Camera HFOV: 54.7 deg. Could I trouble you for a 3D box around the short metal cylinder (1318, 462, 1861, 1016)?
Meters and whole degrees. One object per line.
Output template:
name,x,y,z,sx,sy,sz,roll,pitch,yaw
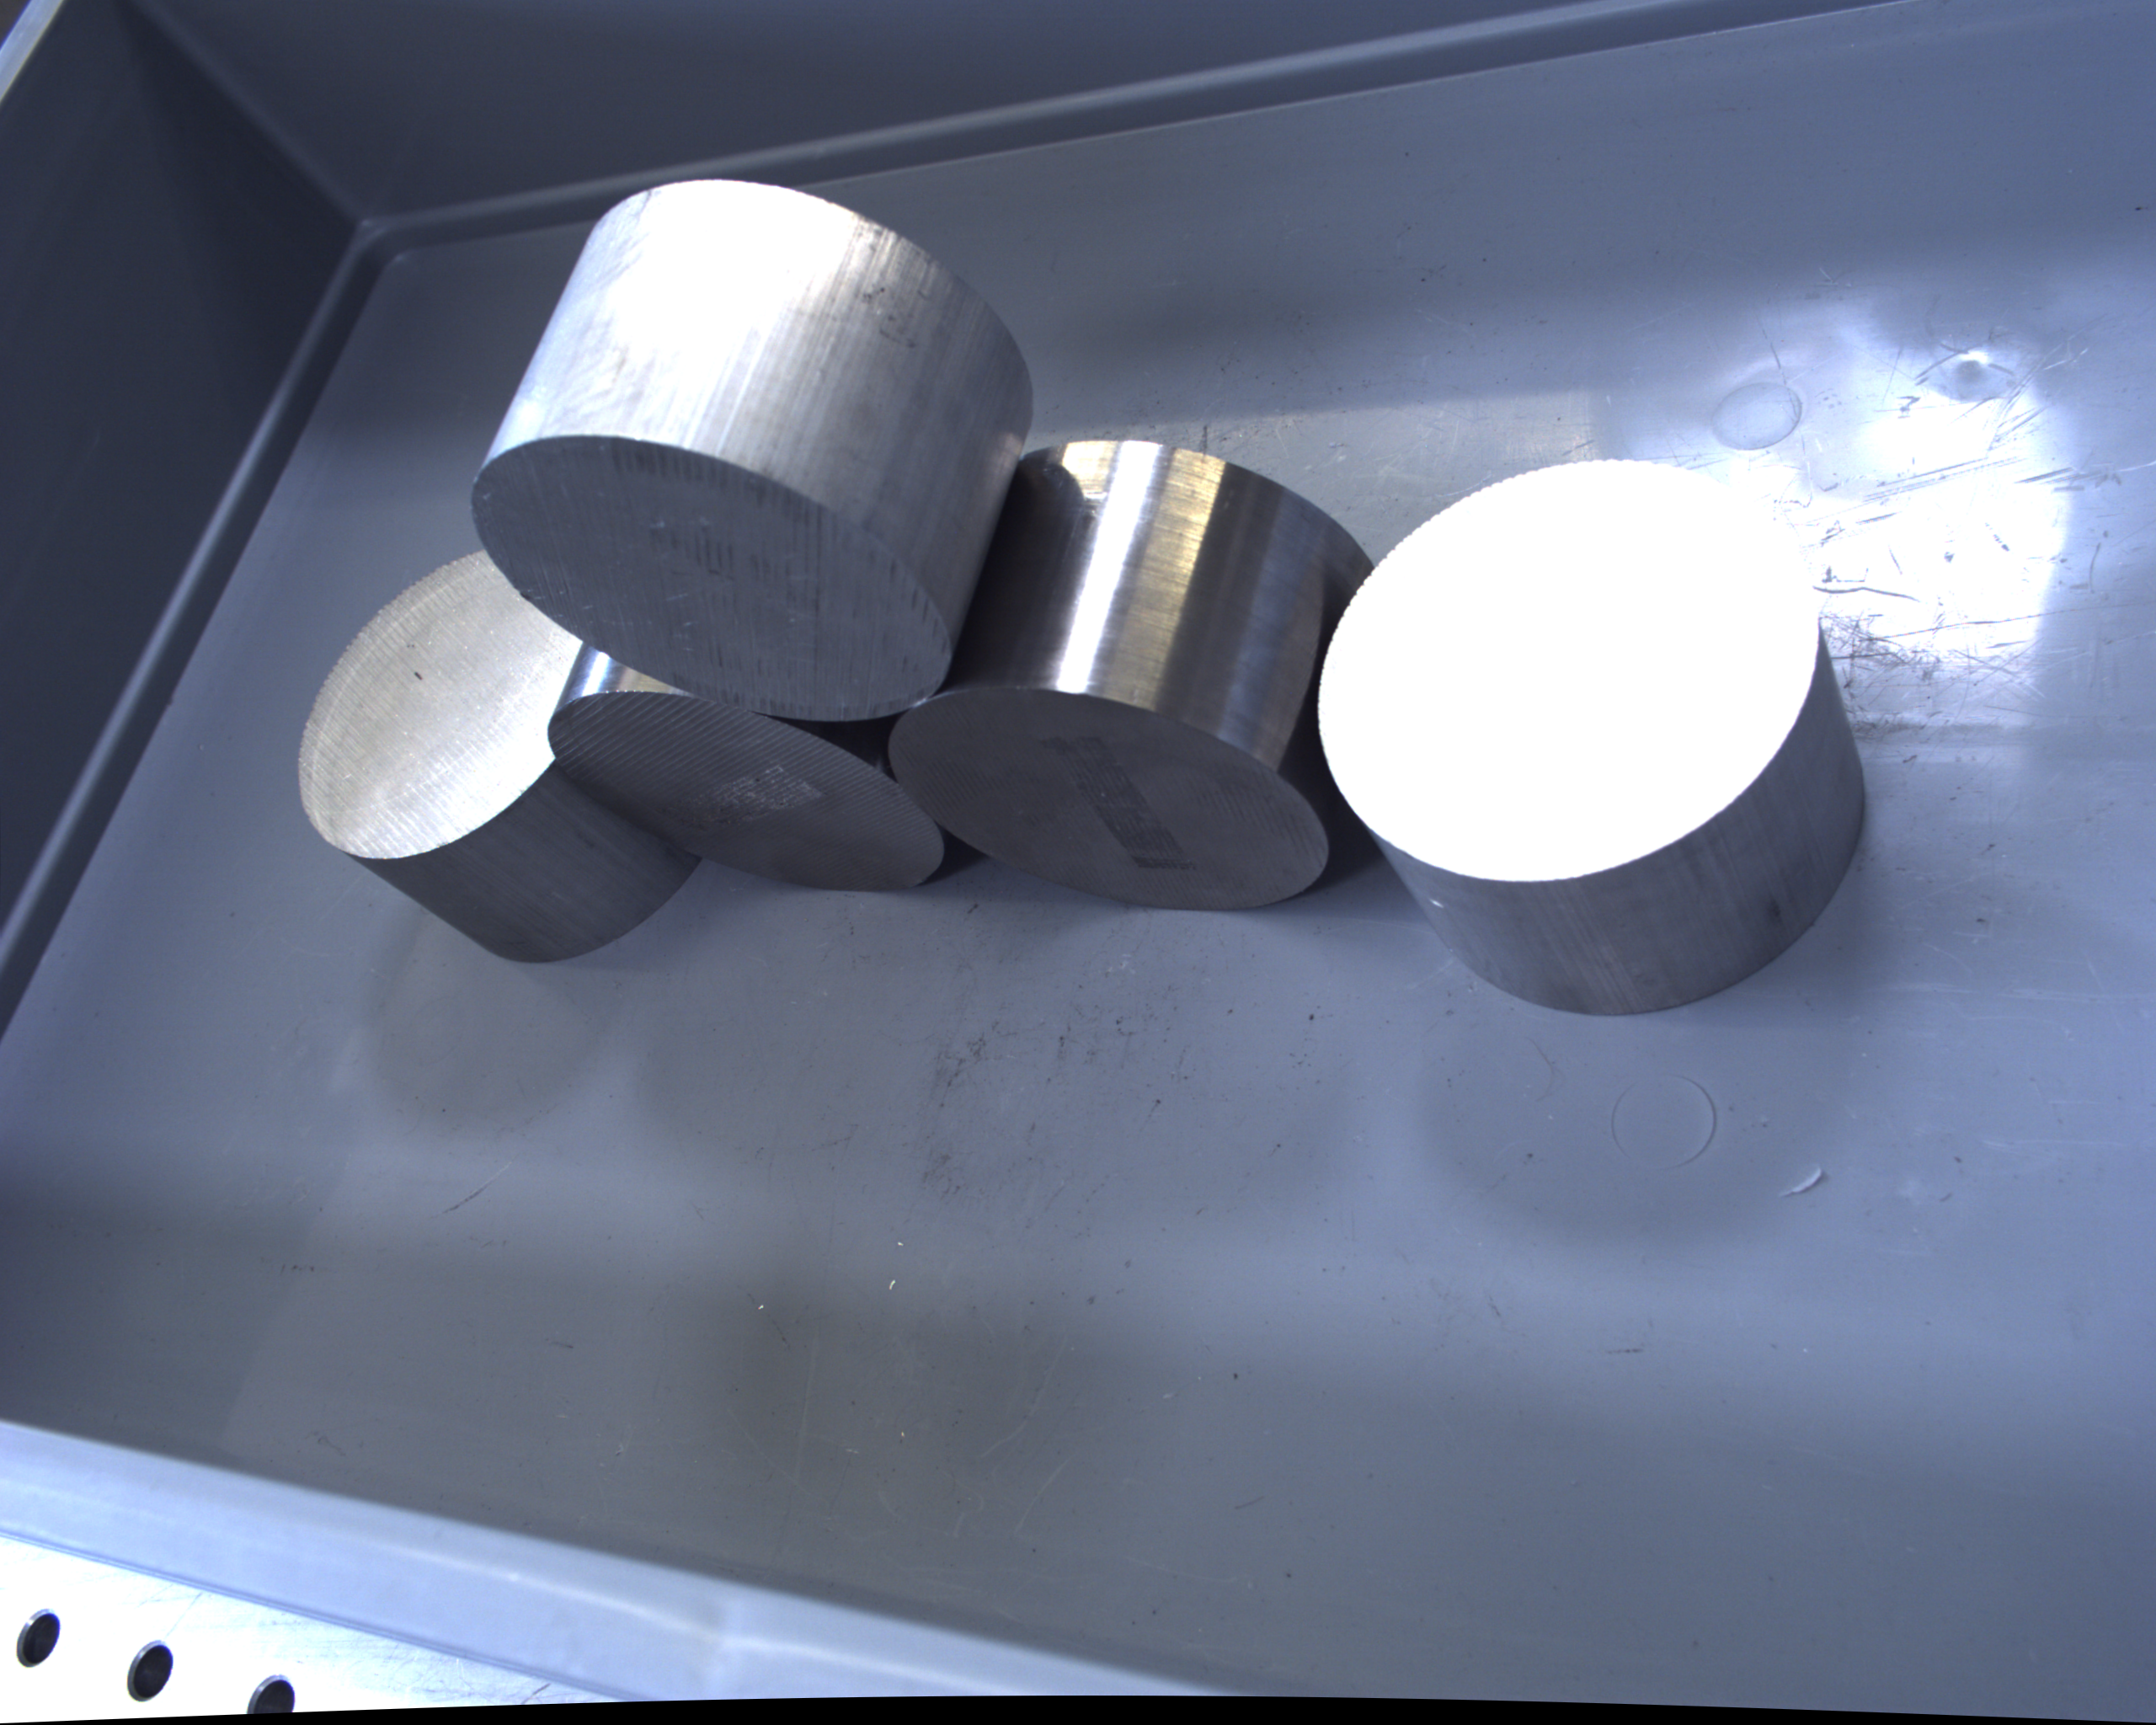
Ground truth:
short metal cylinder,0.087,-0.021,0.354,0.080,0.050,0.080,-13,56,21

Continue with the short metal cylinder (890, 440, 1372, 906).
short metal cylinder,0.012,-0.032,0.382,0.080,0.080,0.050,2,63,29

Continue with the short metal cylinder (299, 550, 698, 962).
short metal cylinder,-0.125,-0.024,0.468,0.080,0.050,0.080,-13,56,21

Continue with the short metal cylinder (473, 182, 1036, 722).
short metal cylinder,-0.052,-0.066,0.348,0.080,0.080,0.050,2,63,29

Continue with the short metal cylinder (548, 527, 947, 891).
short metal cylinder,-0.059,-0.035,0.420,0.080,0.080,0.050,2,63,29
